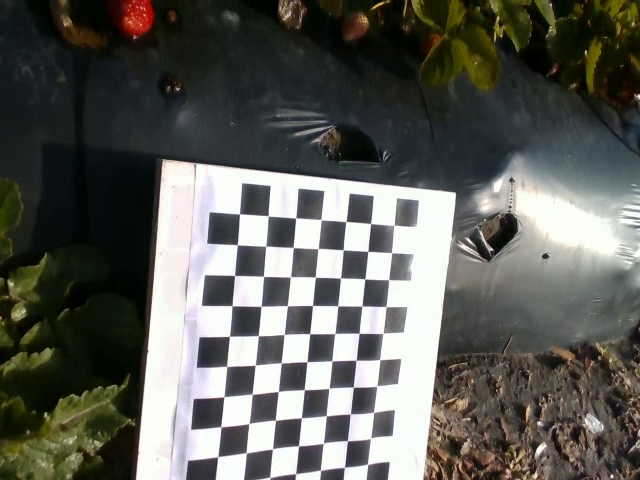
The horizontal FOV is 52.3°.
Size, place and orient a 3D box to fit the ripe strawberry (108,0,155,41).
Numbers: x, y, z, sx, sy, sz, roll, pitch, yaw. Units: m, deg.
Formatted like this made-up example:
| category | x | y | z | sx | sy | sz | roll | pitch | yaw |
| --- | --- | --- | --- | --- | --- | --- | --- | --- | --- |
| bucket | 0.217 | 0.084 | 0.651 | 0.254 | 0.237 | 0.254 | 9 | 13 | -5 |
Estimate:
| category | x | y | z | sx | sy | sz | roll | pitch | yaw |
| --- | --- | --- | --- | --- | --- | --- | --- | --- | --- |
| ripe strawberry | -0.128 | -0.148 | 0.436 | 0.046 | 0.054 | 0.037 | 28 | -55 | -28 |
